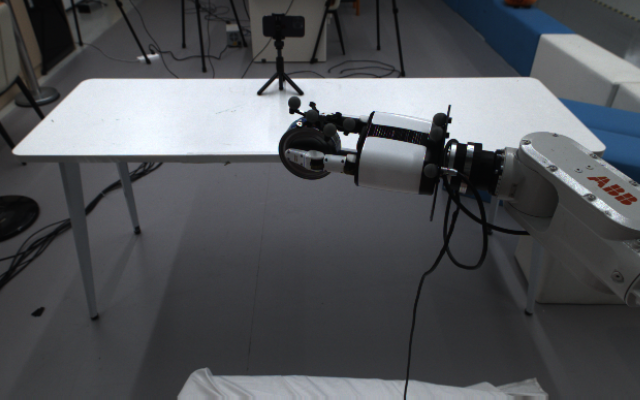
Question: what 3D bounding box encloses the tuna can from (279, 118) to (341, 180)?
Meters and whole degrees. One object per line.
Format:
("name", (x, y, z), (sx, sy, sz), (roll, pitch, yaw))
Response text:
("tuna can", (-0.013, -0.073, 0.692), (0.085, 0.085, 0.034), (9, 35, 10))
